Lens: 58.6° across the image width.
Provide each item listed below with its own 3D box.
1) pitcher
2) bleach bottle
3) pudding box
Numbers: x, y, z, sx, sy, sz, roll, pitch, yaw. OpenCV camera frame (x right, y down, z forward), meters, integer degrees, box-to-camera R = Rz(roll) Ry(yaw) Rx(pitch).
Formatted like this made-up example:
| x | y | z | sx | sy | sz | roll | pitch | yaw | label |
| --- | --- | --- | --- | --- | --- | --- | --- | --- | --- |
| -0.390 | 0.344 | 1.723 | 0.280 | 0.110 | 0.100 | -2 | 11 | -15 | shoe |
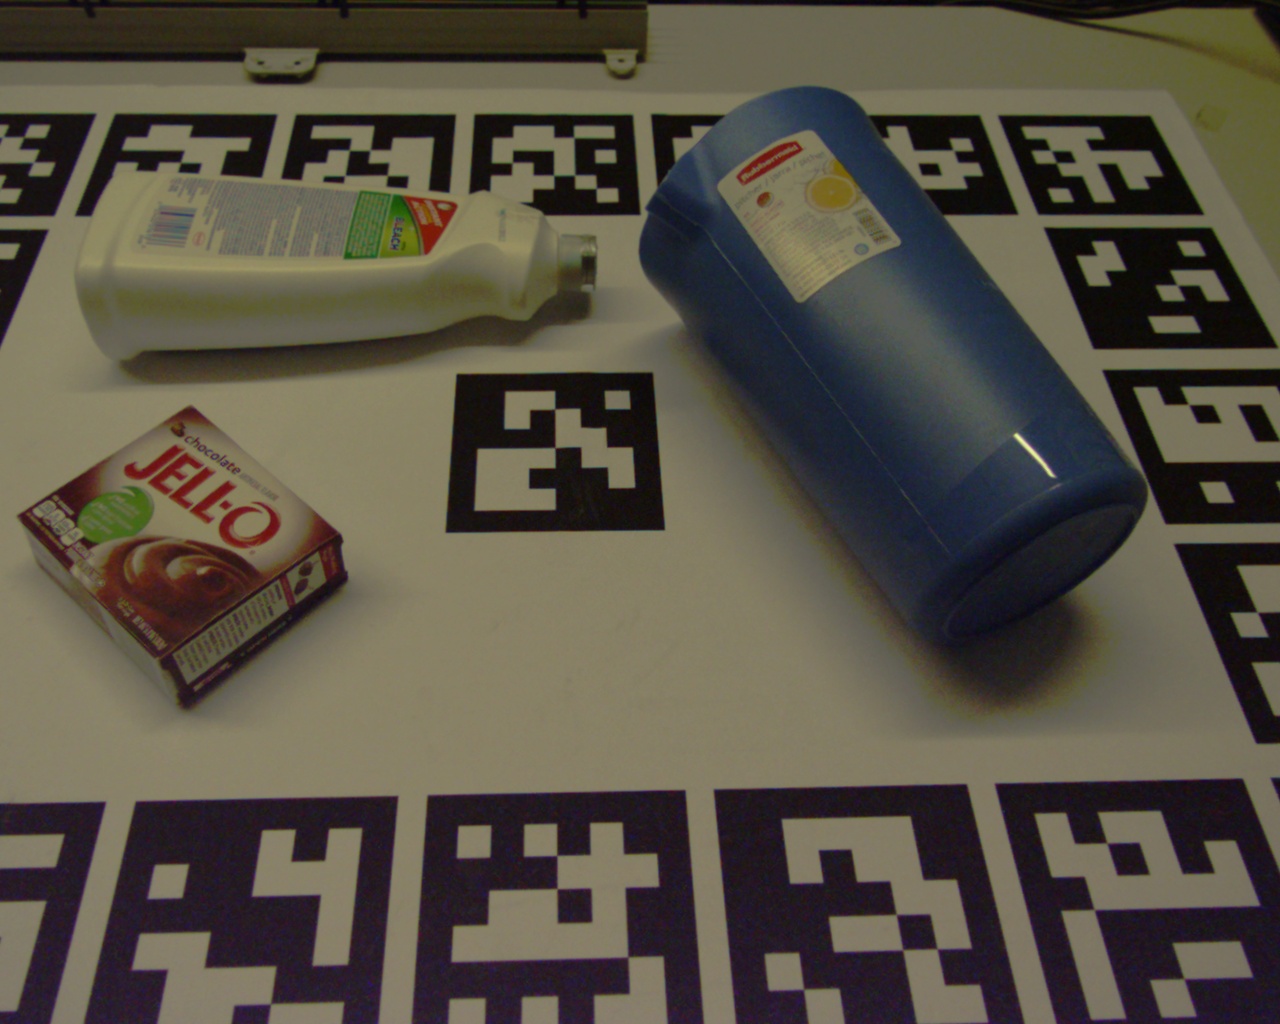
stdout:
| x | y | z | sx | sy | sz | roll | pitch | yaw | label |
| --- | --- | --- | --- | --- | --- | --- | --- | --- | --- |
| 0.110 | -0.055 | 0.561 | 0.186 | 0.134 | 0.244 | 1 | 50 | -46 | pitcher |
| -0.156 | -0.129 | 0.624 | 0.250 | 0.068 | 0.103 | -2 | 58 | -7 | bleach bottle |
| -0.207 | 0.016 | 0.523 | 0.115 | 0.038 | 0.089 | 38 | 55 | 21 | pudding box |
